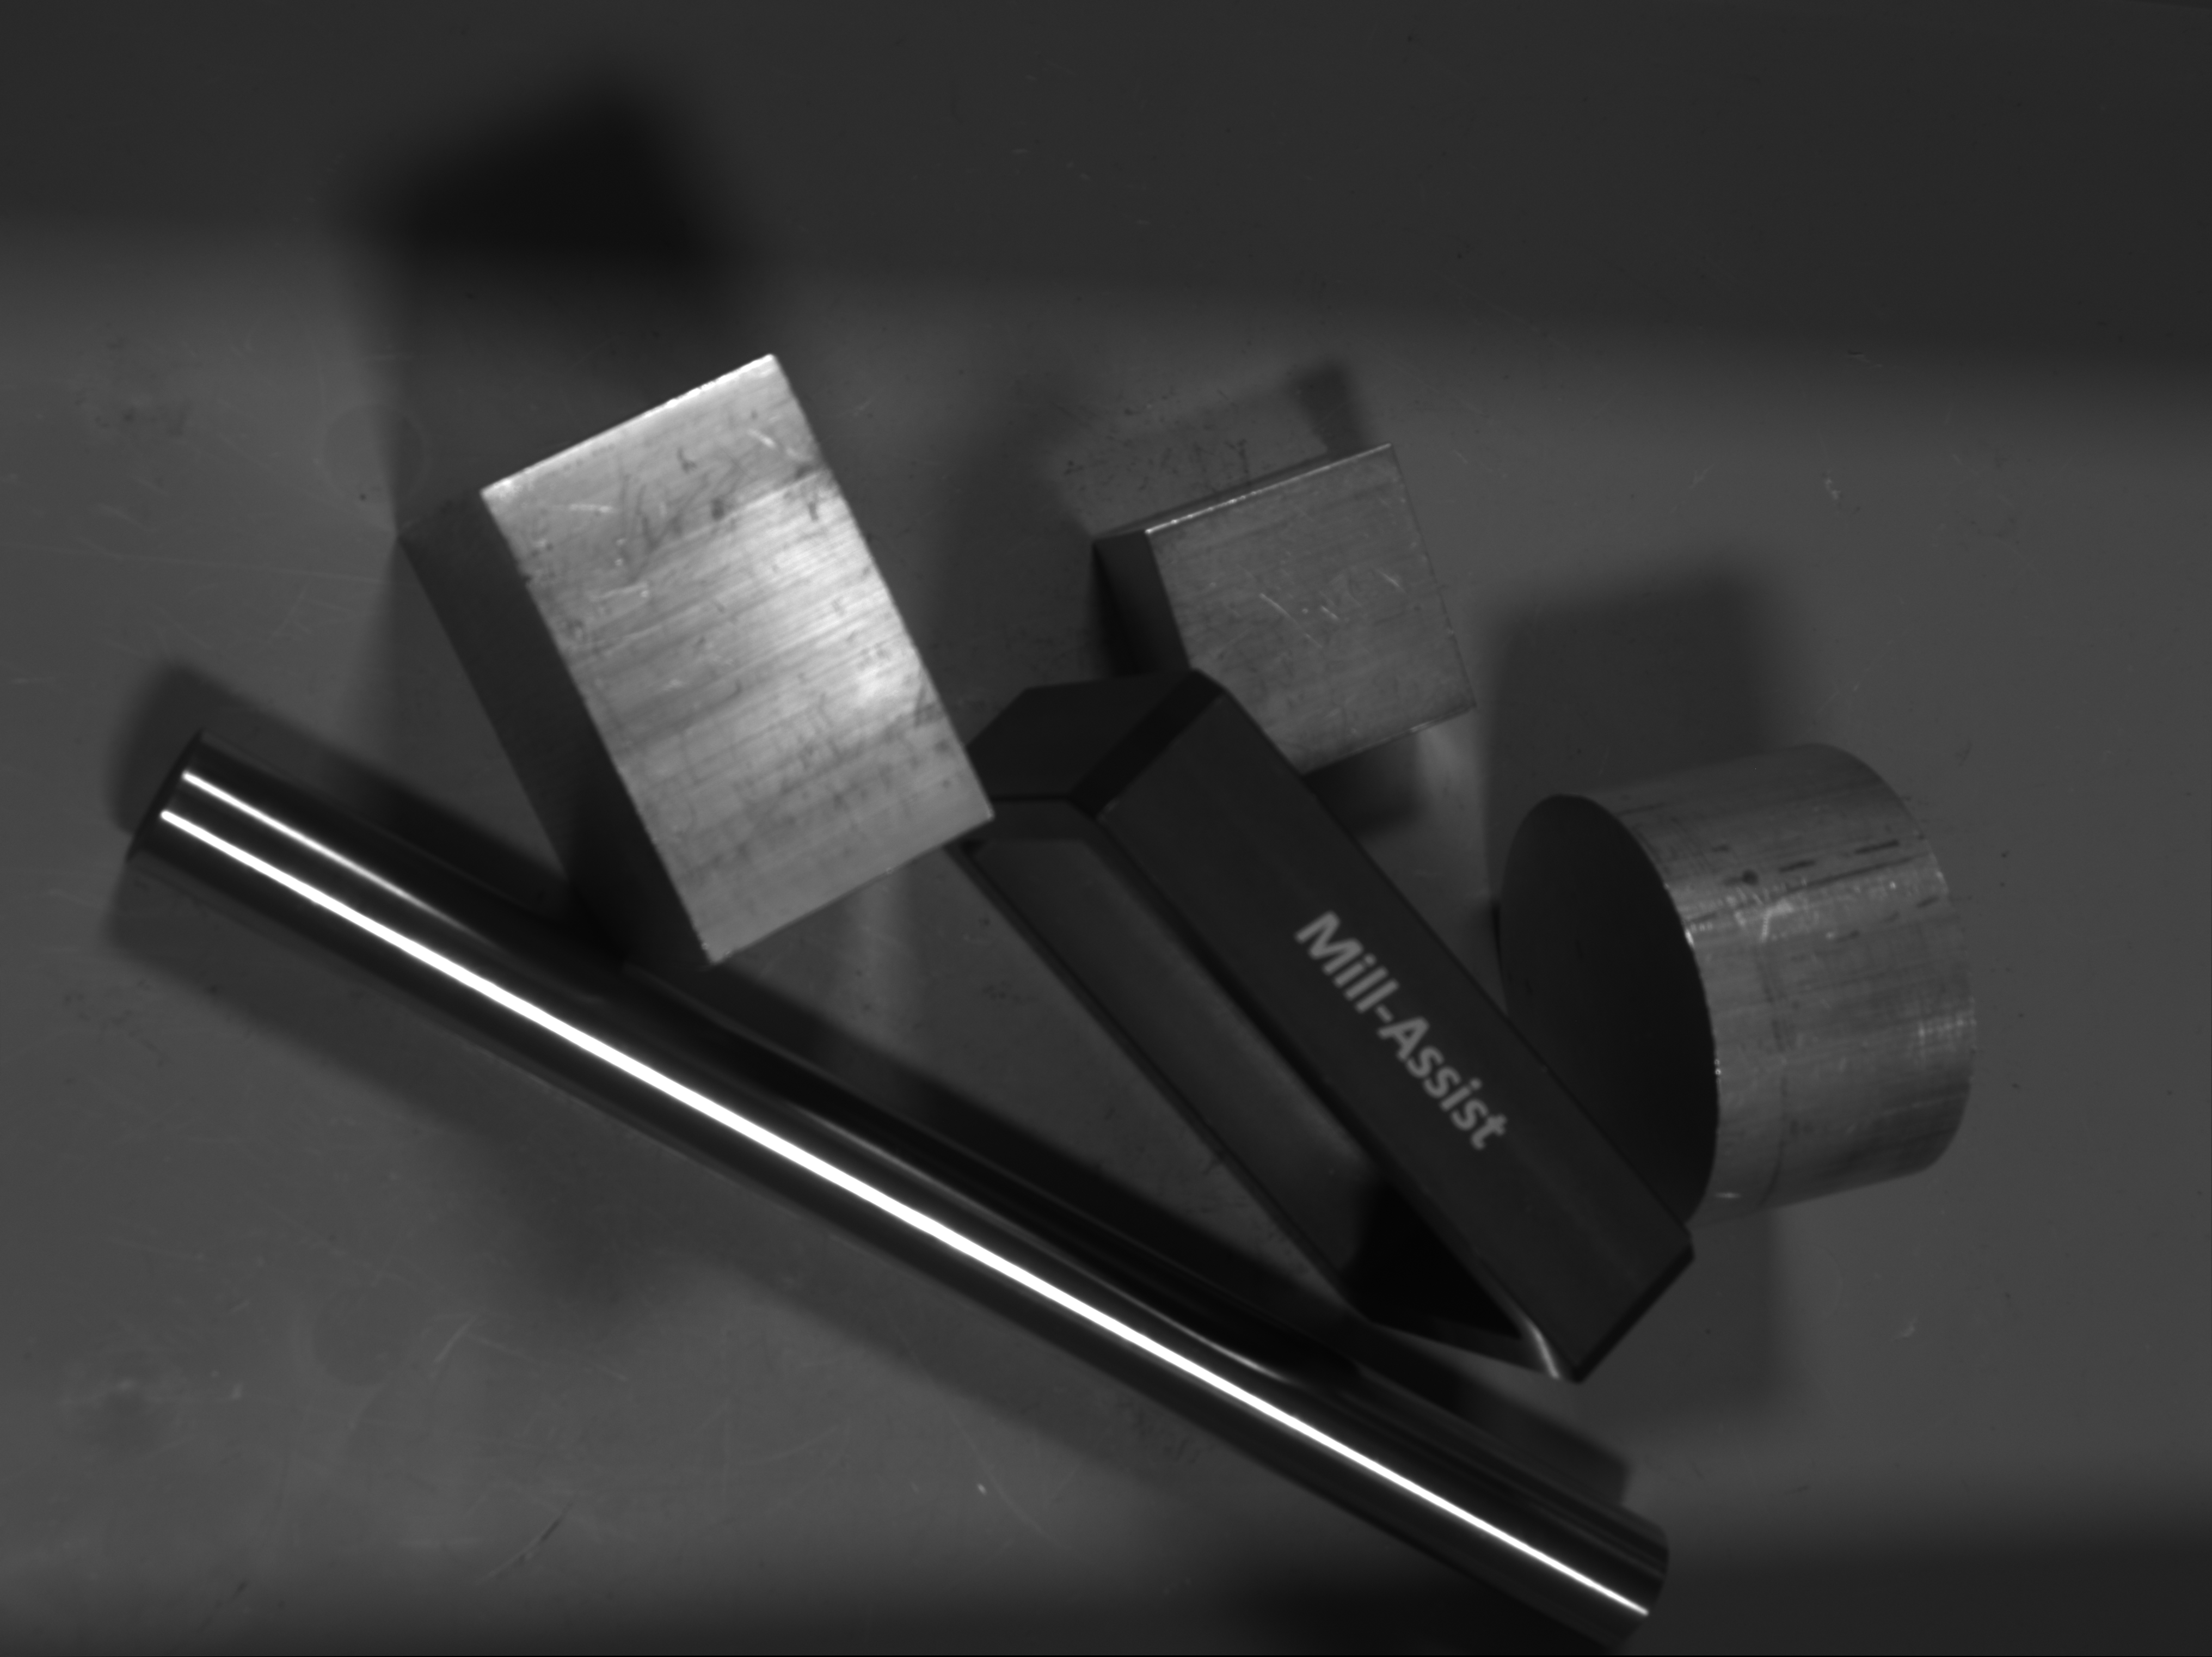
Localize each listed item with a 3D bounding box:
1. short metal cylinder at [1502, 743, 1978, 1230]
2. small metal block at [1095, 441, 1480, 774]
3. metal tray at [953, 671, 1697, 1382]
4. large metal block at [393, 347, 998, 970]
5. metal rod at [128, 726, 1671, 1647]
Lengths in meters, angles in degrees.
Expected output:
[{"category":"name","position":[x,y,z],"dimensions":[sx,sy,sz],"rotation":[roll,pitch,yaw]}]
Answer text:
[{"category":"short metal cylinder","position":[0.111,0.029,0.653],"dimensions":[0.050,0.080,0.080],"rotation":[-12,94,-18]},{"category":"small metal block","position":[0.032,-0.036,0.653],"dimensions":[0.050,0.025,0.050],"rotation":[-21,97,-19]},{"category":"metal tray","position":[0.032,0.033,0.618],"dimensions":[0.030,0.090,0.130],"rotation":[-45,104,-15]},{"category":"large metal block","position":[-0.068,-0.026,0.588],"dimensions":[0.050,0.080,0.080],"rotation":[-28,99,-18]},{"category":"metal rod","position":[-0.027,0.067,0.632],"dimensions":[0.300,0.025,0.025],"rotation":[30,80,-17]}]
